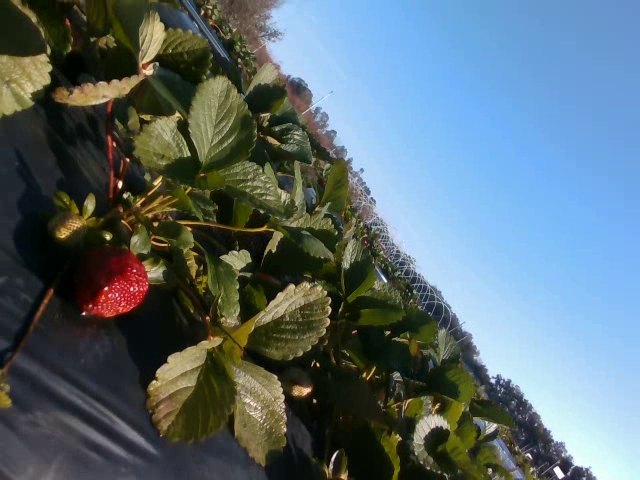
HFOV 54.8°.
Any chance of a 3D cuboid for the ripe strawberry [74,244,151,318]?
[{"bbox_3d":[-0.104,0.022,0.296,0.043,0.042,0.053,-30,20,-9],"label":"ripe strawberry"}]
